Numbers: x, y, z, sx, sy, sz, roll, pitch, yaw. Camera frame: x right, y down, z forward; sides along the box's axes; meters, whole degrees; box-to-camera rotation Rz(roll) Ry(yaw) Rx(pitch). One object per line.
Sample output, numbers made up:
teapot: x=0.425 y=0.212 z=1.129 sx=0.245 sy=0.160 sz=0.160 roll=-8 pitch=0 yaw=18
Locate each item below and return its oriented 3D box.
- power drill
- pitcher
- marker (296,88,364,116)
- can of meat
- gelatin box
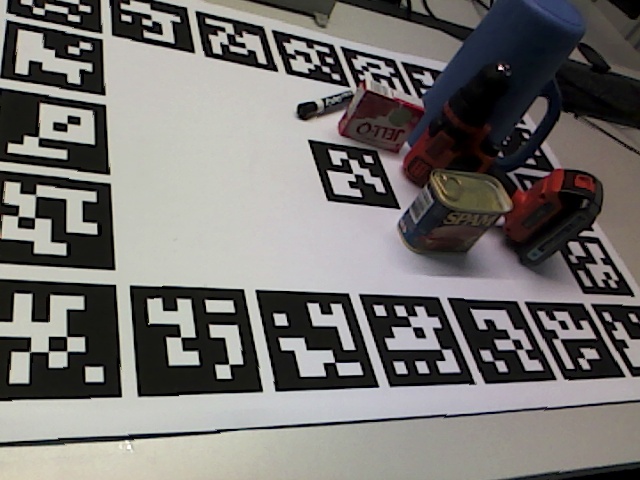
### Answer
power drill: x=0.215 y=-0.100 z=0.749 sx=0.187 sy=0.185 sz=0.057 roll=35 pitch=46 yaw=-7
pitcher: x=0.242 y=-0.193 z=0.814 sx=0.189 sy=0.242 sz=0.133 roll=25 pitch=47 yaw=0
marker: x=0.014 y=-0.184 z=0.821 sx=0.120 sy=0.020 sz=0.020 roll=-24 pitch=68 yaw=-41
can of meat: x=0.152 y=-0.025 z=0.713 sx=0.101 sy=0.084 sz=0.058 roll=4 pitch=49 yaw=-29
gelatin box: x=0.085 y=-0.152 z=0.799 sx=0.089 sy=0.073 sz=0.030 roll=14 pitch=51 yaw=-22
